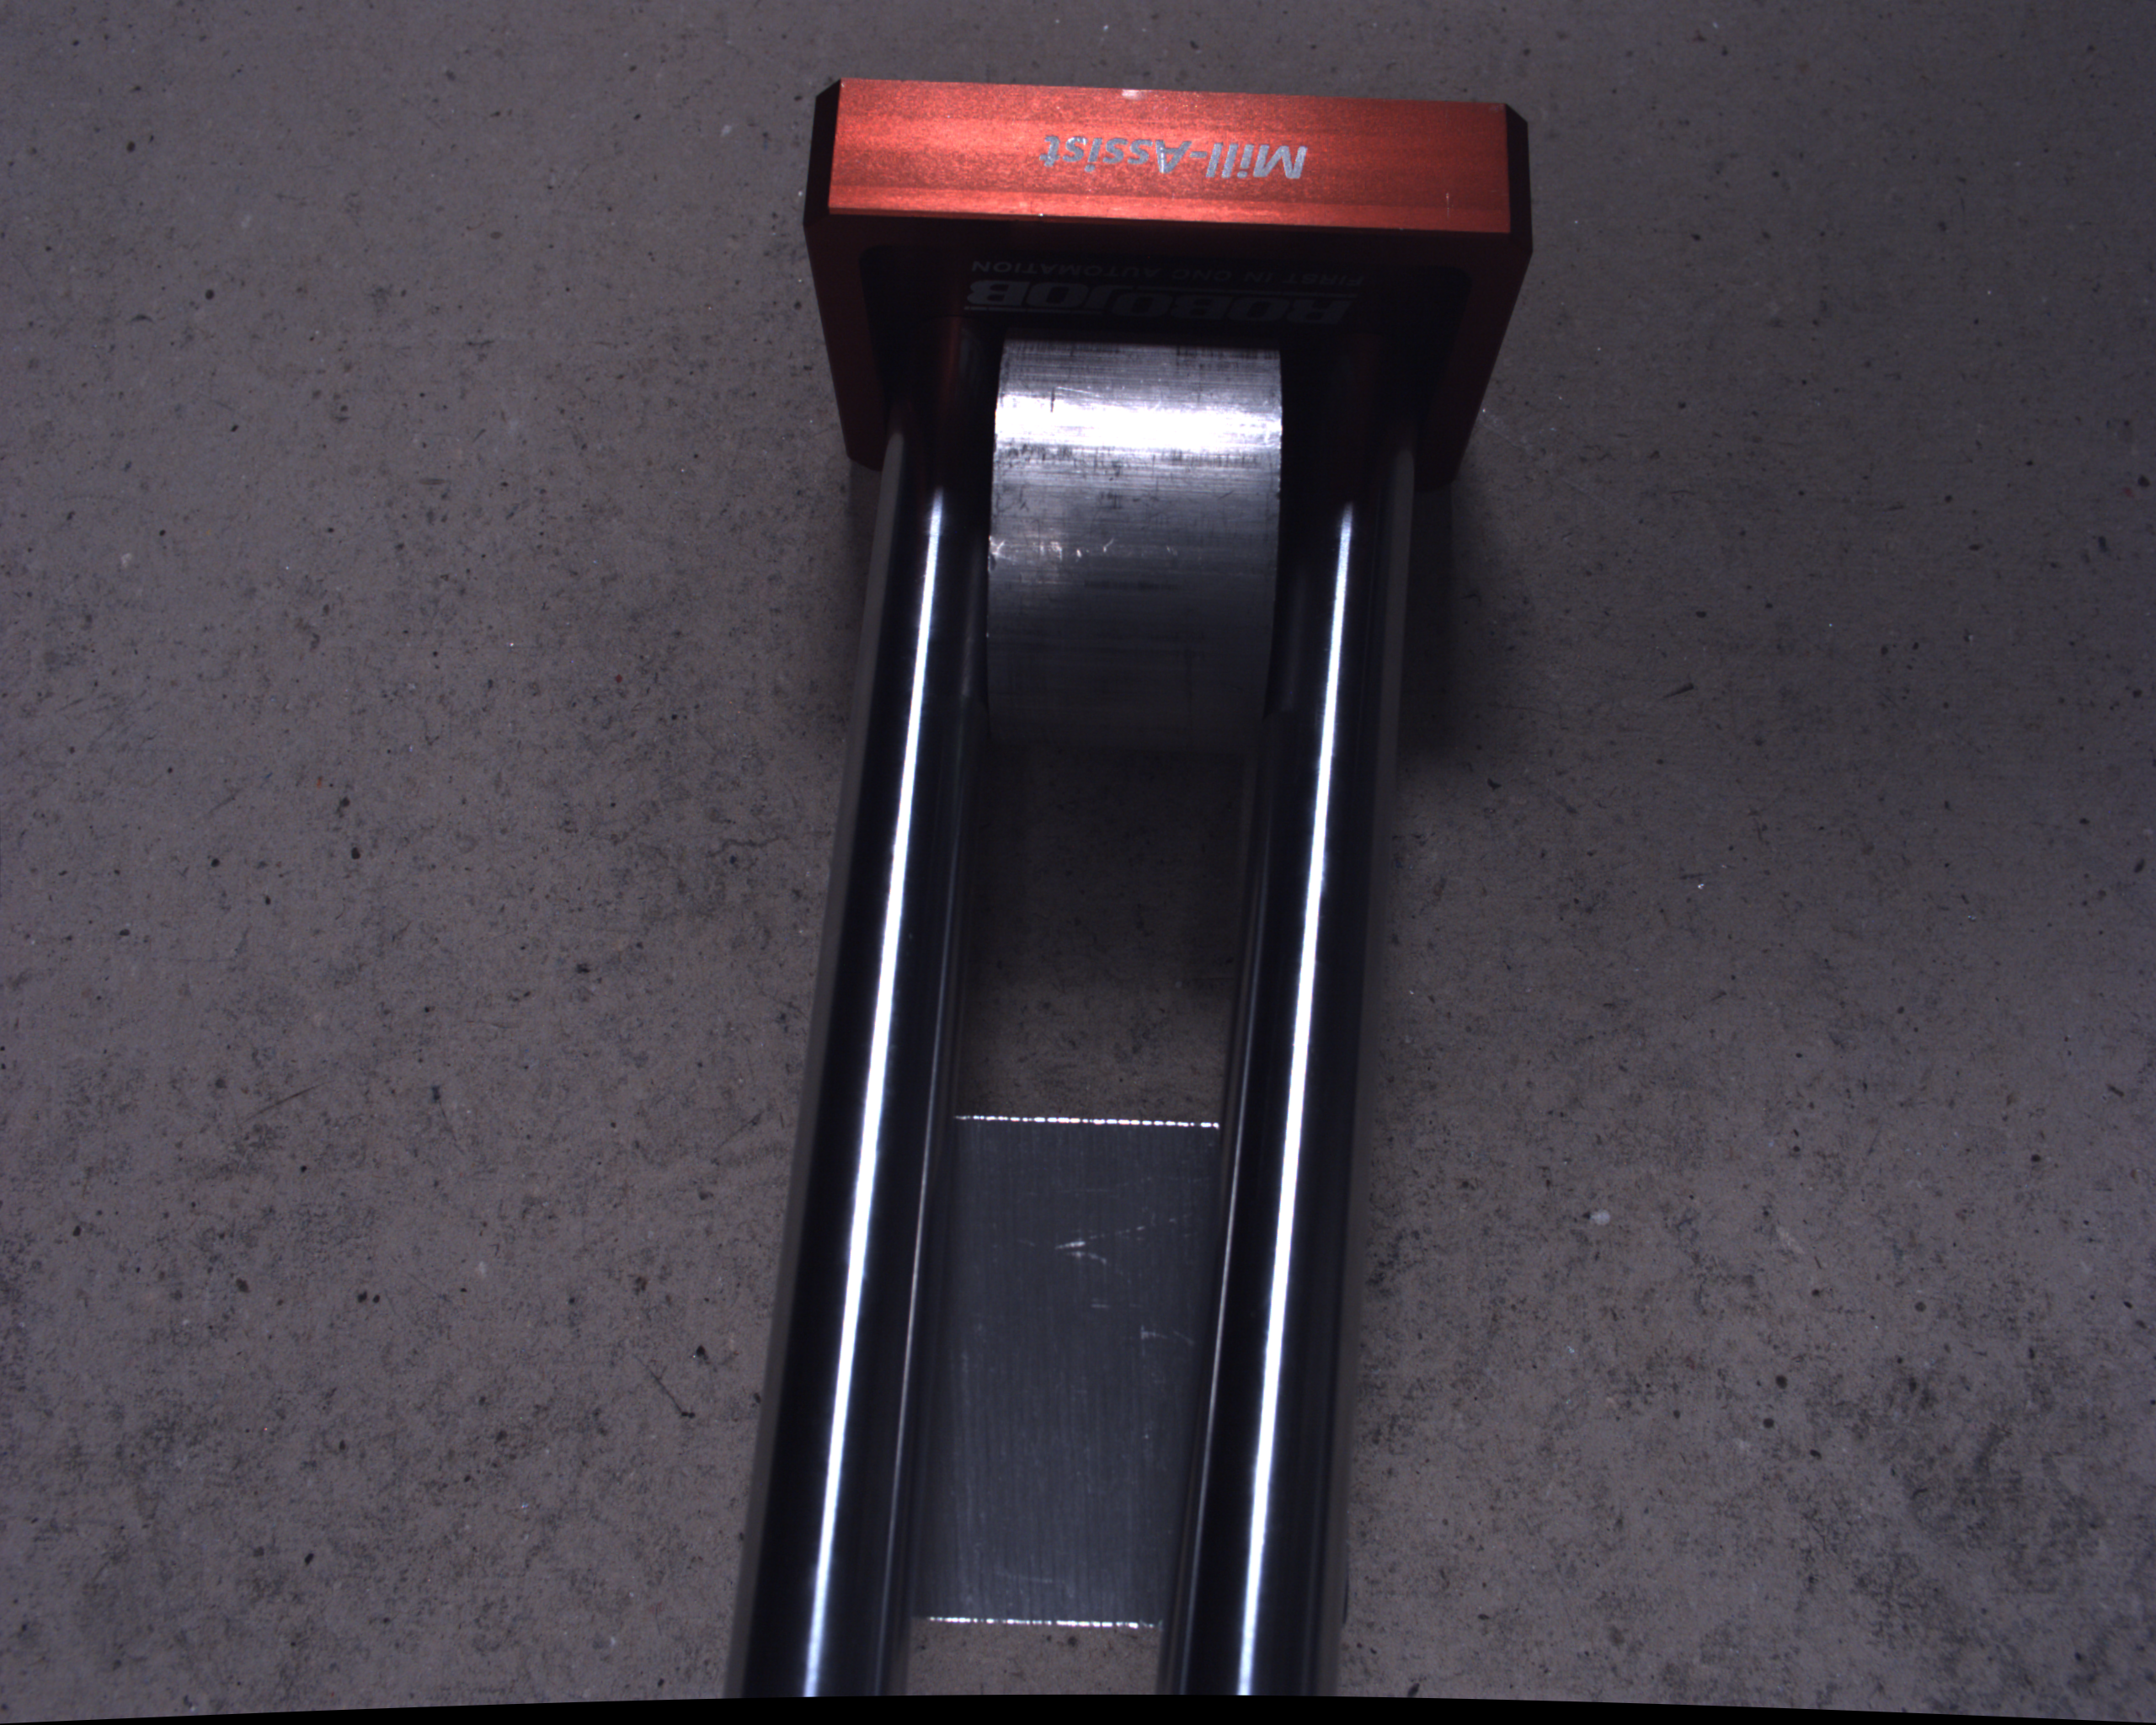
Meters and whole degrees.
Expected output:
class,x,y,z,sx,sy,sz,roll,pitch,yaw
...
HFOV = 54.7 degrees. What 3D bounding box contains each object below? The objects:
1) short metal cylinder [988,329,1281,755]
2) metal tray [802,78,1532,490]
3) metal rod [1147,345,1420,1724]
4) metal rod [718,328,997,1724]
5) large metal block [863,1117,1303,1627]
class,x,y,z,sx,sy,sz,roll,pitch,yaw
short metal cylinder,0.010,-0.062,0.403,0.050,0.080,0.080,2,70,0
metal tray,0.016,-0.112,0.416,0.131,0.090,0.030,2,70,0
metal rod,0.039,0.022,0.352,0.025,0.025,0.300,8,55,2
metal rod,-0.033,0.019,0.353,0.025,0.025,0.300,2,55,0
large metal block,0.003,0.089,0.361,0.081,0.050,0.080,2,70,0
